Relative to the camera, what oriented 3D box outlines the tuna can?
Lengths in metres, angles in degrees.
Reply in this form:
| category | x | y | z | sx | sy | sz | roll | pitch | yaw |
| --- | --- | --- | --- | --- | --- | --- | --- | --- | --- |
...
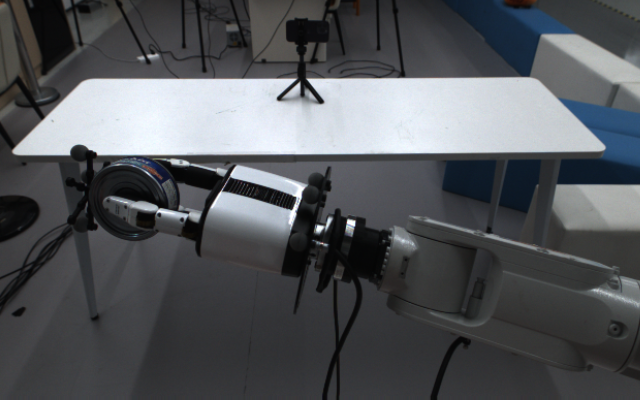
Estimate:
| category | x | y | z | sx | sy | sz | roll | pitch | yaw |
| --- | --- | --- | --- | --- | --- | --- | --- | --- | --- |
| tuna can | -0.192 | -0.001 | 0.508 | 0.085 | 0.085 | 0.034 | 4 | 19 | 3 |
